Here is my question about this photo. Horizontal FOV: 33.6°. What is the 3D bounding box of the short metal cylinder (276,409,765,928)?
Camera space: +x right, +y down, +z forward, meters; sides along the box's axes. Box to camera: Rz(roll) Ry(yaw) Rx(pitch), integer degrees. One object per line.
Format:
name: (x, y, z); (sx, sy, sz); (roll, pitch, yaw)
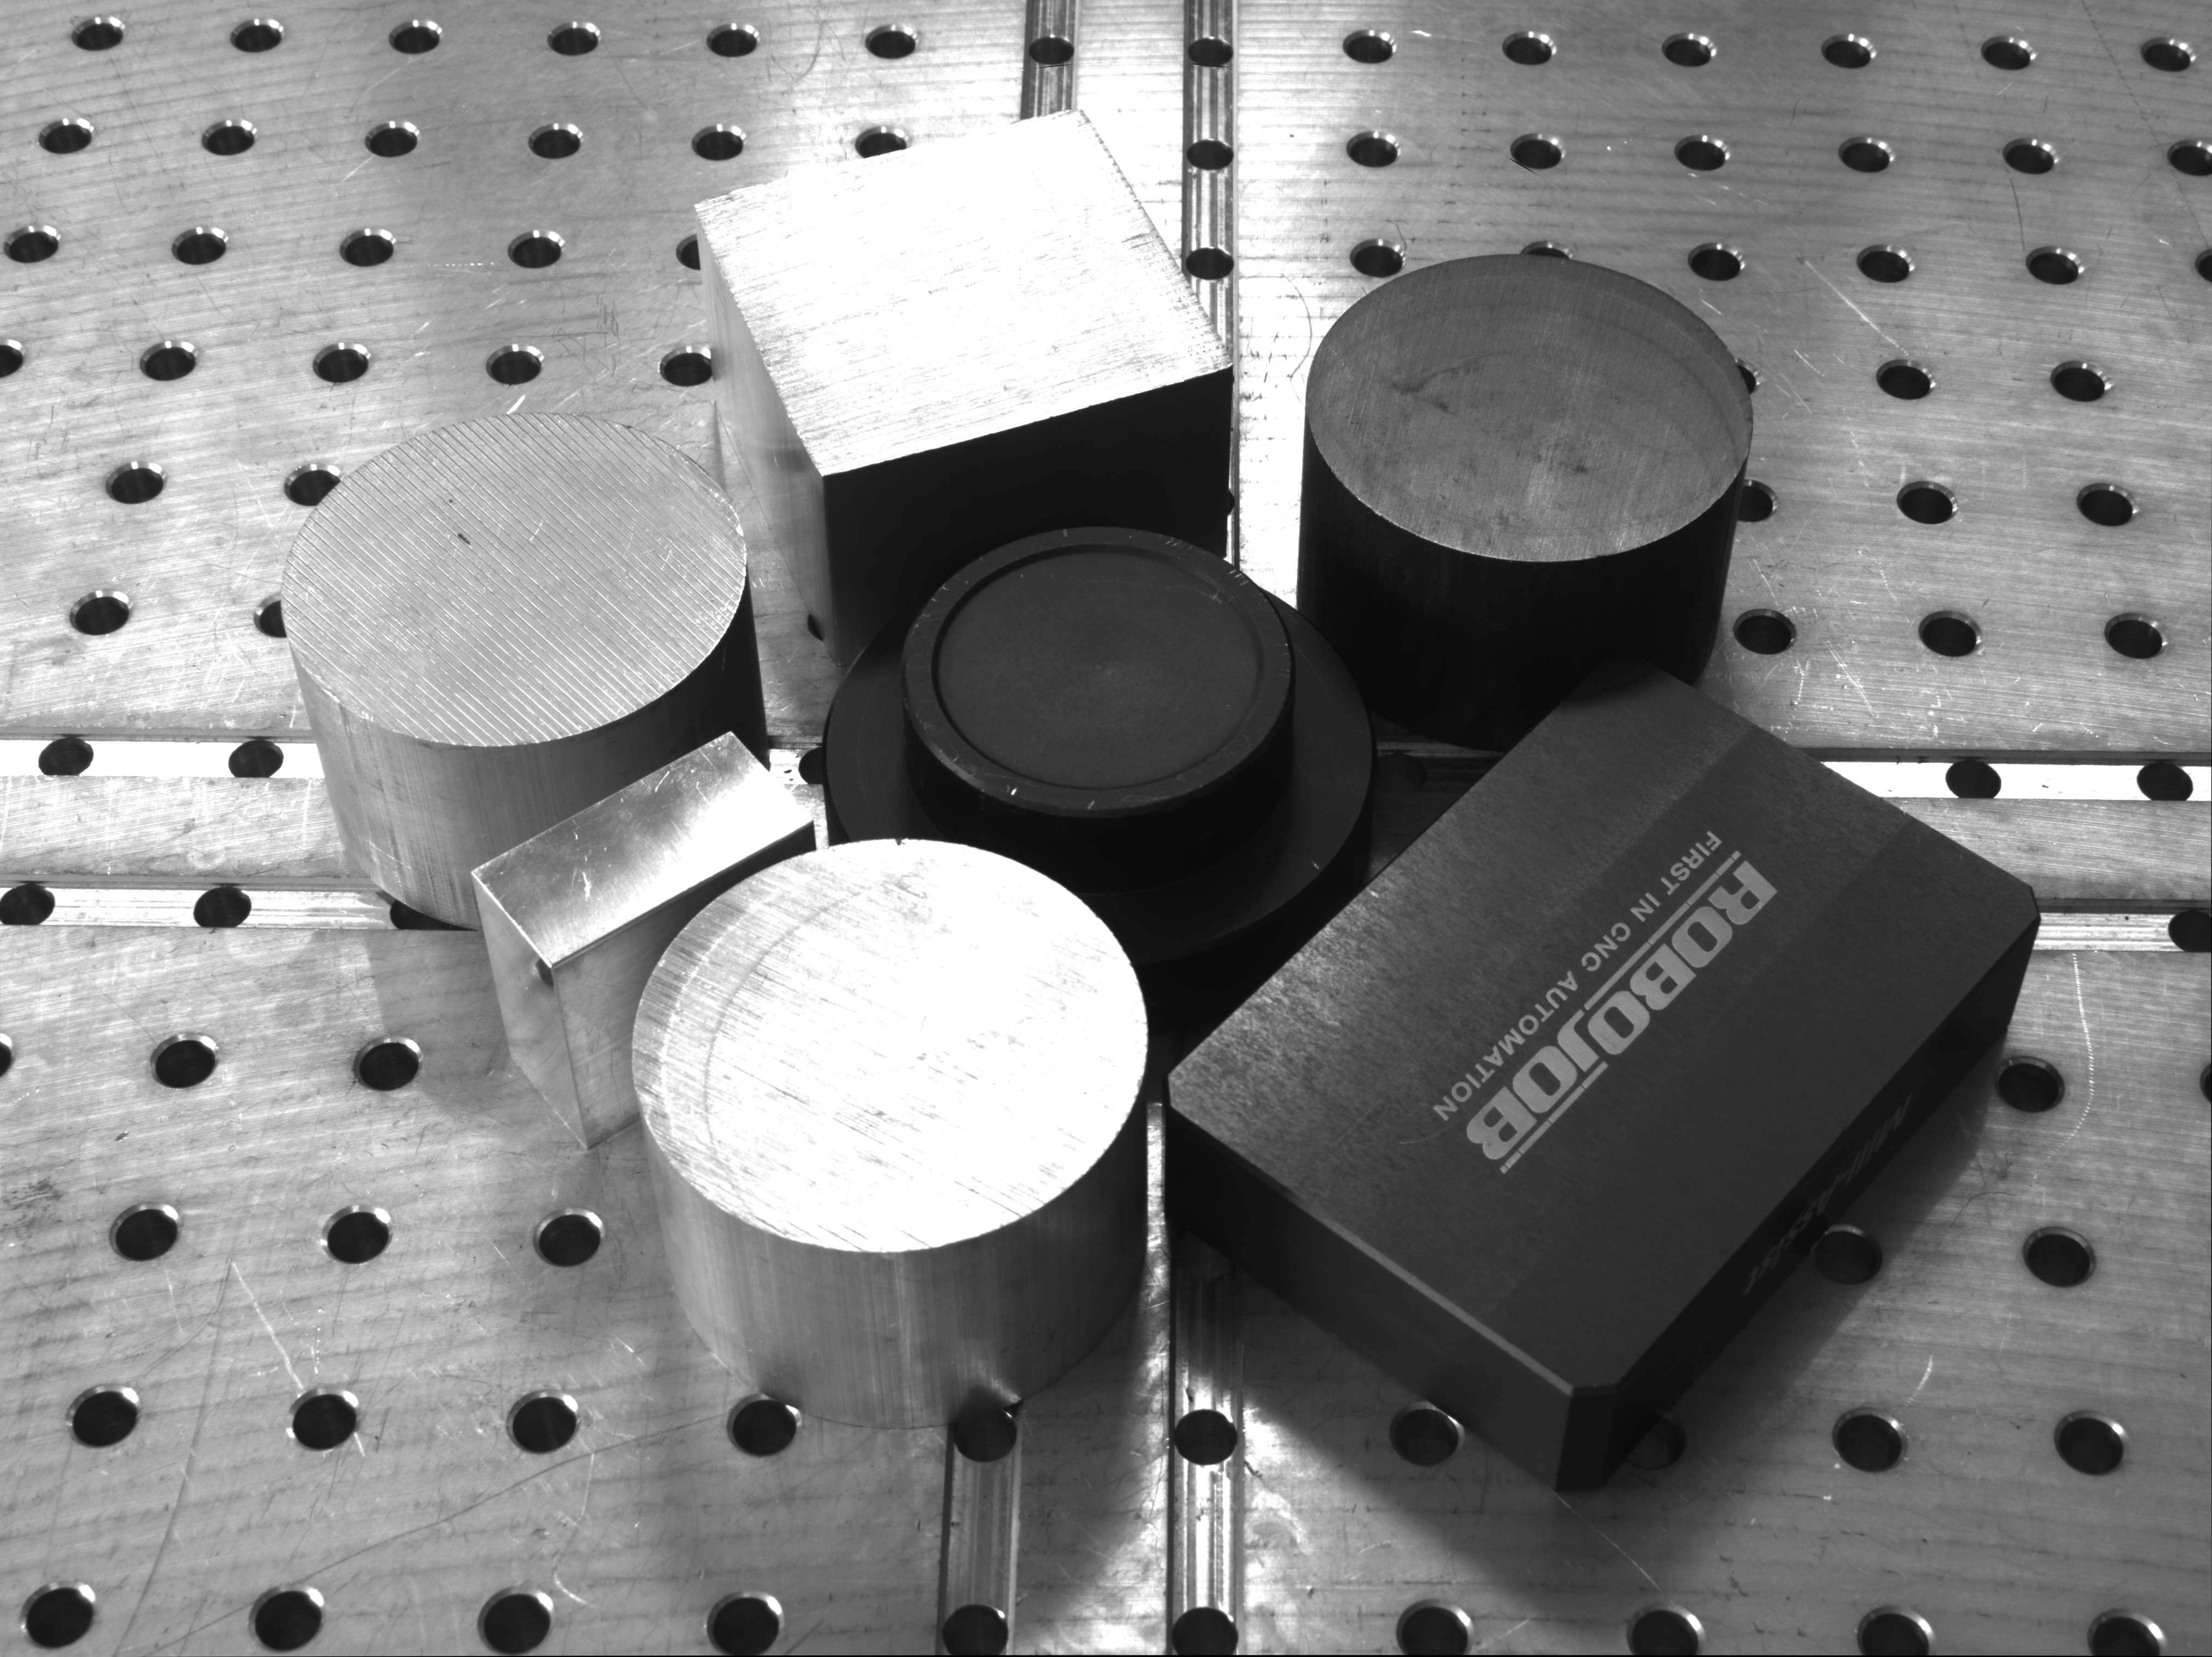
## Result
short metal cylinder: (-0.102, -0.029, 0.651); (0.080, 0.050, 0.080); (0, 50, 0)

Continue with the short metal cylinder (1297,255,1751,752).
short metal cylinder: (0.076, -0.061, 0.679); (0.080, 0.050, 0.080); (0, 50, 0)

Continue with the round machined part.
round machined part: (-0.002, -0.015, 0.646); (0.098, 0.042, 0.098); (0, 50, 0)

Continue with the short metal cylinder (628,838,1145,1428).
short metal cylinder: (-0.034, 0.048, 0.587); (0.080, 0.050, 0.080); (0, 50, 0)

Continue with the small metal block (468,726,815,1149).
small metal block: (-0.075, 0.018, 0.612); (0.050, 0.050, 0.025); (-30, 56, -23)

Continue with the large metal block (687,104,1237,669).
large metal block: (-0.028, -0.086, 0.701); (0.080, 0.050, 0.080); (-17, 52, -13)

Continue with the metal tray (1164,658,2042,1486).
metal tray: (0.083, 0.036, 0.610); (0.090, 0.030, 0.130); (33, 57, 25)
